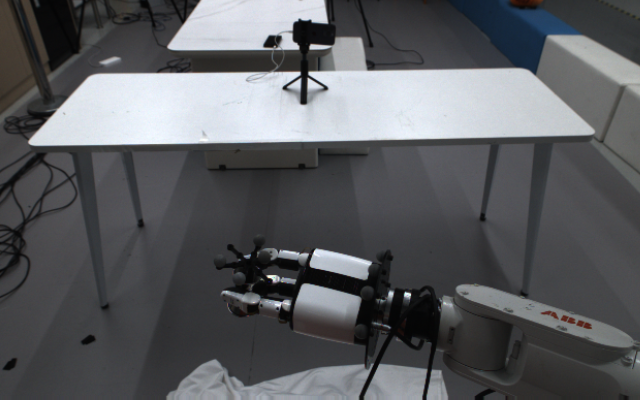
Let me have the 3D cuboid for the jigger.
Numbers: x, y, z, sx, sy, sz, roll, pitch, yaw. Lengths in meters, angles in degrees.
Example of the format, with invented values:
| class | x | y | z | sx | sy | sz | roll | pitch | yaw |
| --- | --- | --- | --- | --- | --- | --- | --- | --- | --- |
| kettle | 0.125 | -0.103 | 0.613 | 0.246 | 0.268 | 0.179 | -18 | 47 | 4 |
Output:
| class | x | y | z | sx | sy | sz | roll | pitch | yaw |
| --- | --- | --- | --- | --- | --- | --- | --- | --- | --- |
| jigger | -0.106 | 0.127 | 0.686 | 0.043 | 0.071 | 0.043 | 10 | 36 | -7 |
